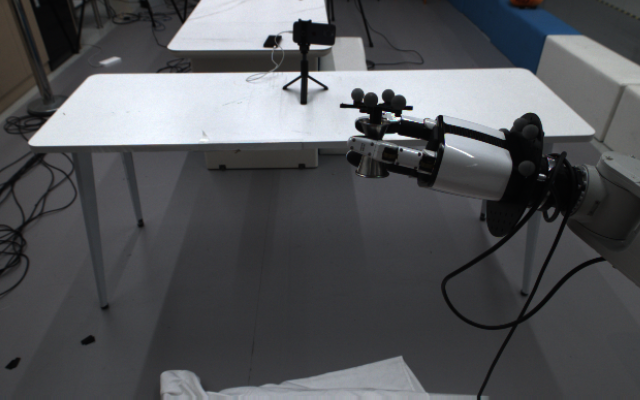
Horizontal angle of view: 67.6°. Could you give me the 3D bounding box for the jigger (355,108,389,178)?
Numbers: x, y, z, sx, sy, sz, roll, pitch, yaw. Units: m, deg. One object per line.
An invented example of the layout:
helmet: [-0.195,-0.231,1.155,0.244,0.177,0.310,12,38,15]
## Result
jigger: [0.067,-0.067,0.616,0.043,0.071,0.043,1,20,0]
